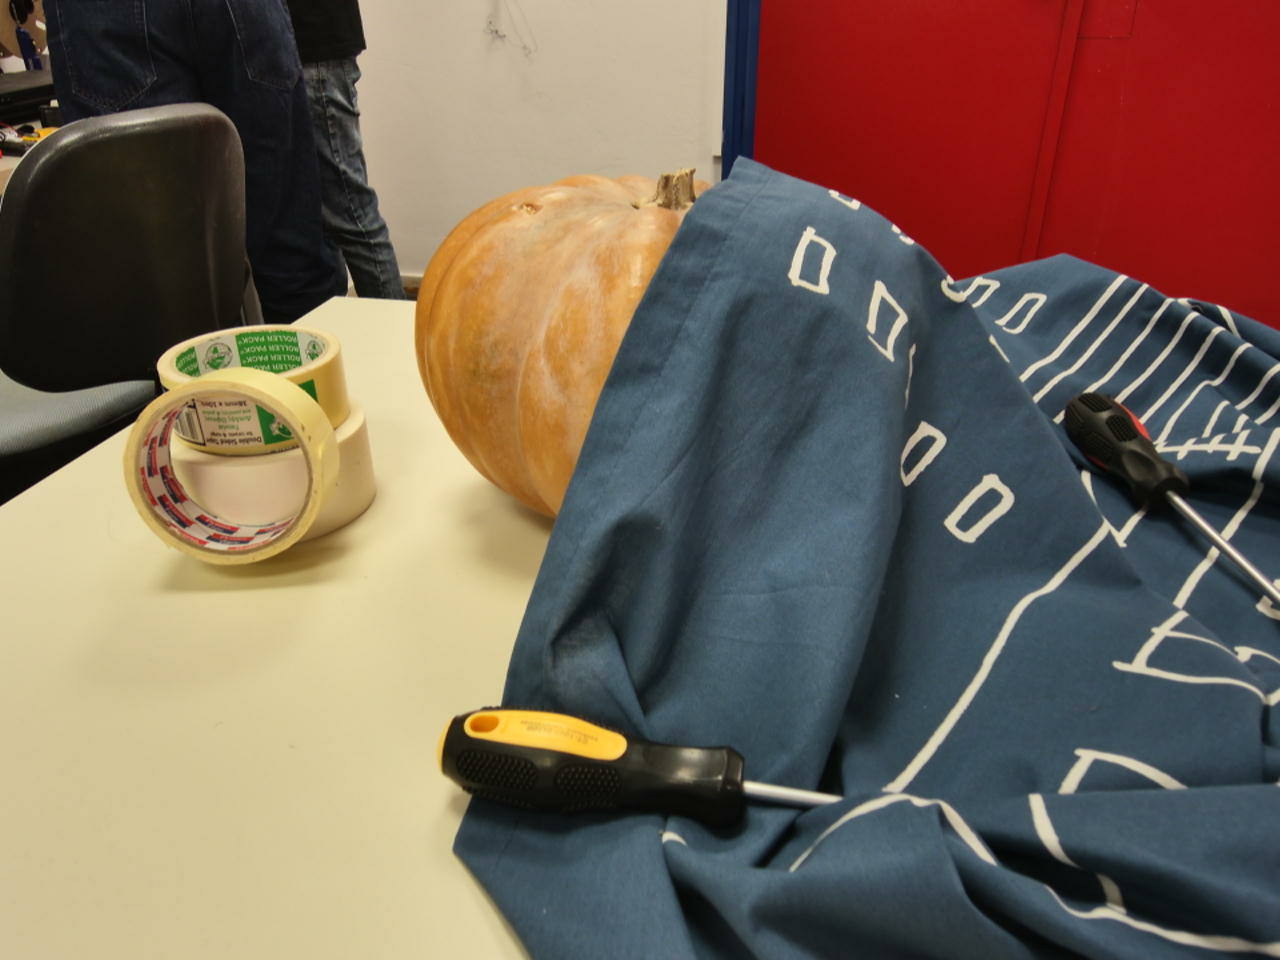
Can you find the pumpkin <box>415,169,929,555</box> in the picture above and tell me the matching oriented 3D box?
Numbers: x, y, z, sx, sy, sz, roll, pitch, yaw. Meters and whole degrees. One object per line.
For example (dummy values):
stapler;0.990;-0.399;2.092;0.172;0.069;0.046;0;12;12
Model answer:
pumpkin;0.015;-0.072;0.536;0.277;0.181;0.277;0;26;0
